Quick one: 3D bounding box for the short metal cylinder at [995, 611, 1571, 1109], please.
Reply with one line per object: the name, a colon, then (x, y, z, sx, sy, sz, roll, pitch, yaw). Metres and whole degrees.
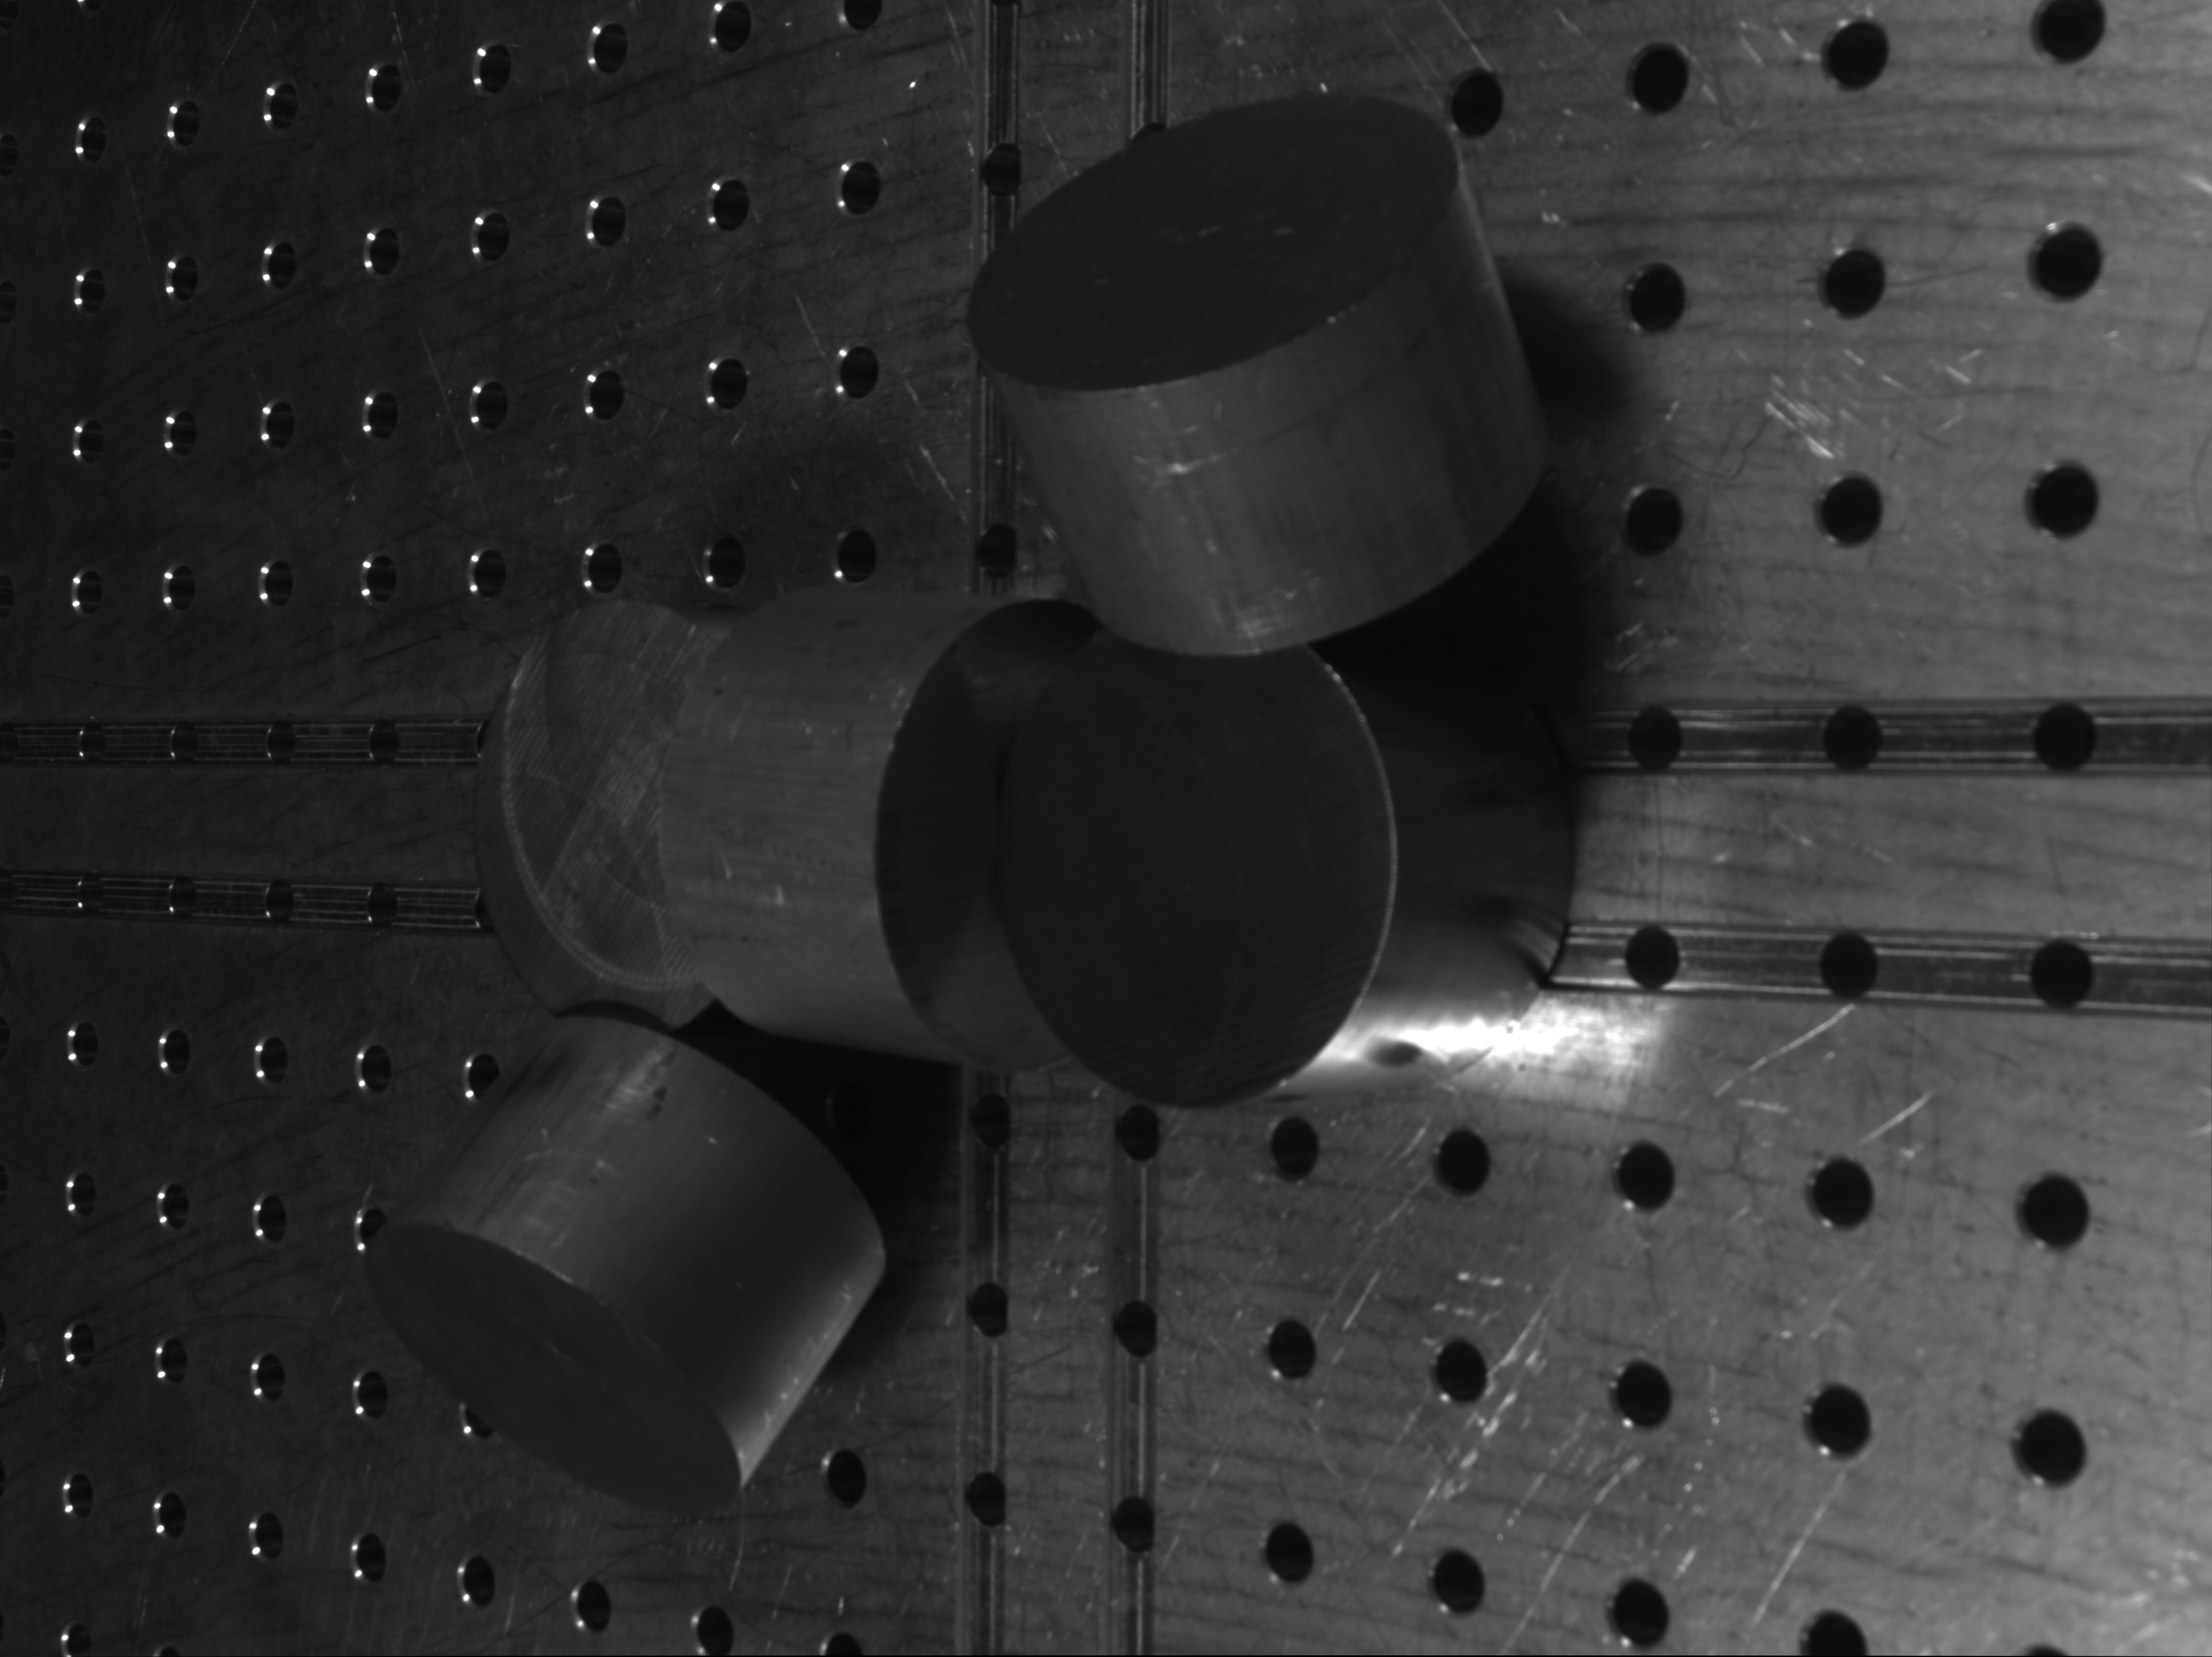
short metal cylinder: (0.028, 0.004, 0.599, 0.080, 0.050, 0.080, 0, 90, 39)

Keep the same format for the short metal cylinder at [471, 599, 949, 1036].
short metal cylinder: (-0.072, -0.001, 0.682, 0.080, 0.050, 0.080, 0, 90, 39)

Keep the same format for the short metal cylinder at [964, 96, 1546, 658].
short metal cylinder: (0.024, -0.072, 0.576, 0.080, 0.080, 0.050, 11, 138, 39)

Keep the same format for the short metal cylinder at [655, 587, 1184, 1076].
short metal cylinder: (-0.031, 0.000, 0.629, 0.050, 0.080, 0.080, 6, 94, 39)

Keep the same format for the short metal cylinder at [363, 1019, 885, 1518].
short metal cylinder: (-0.087, 0.081, 0.668, 0.080, 0.050, 0.080, 23, 145, 17)
